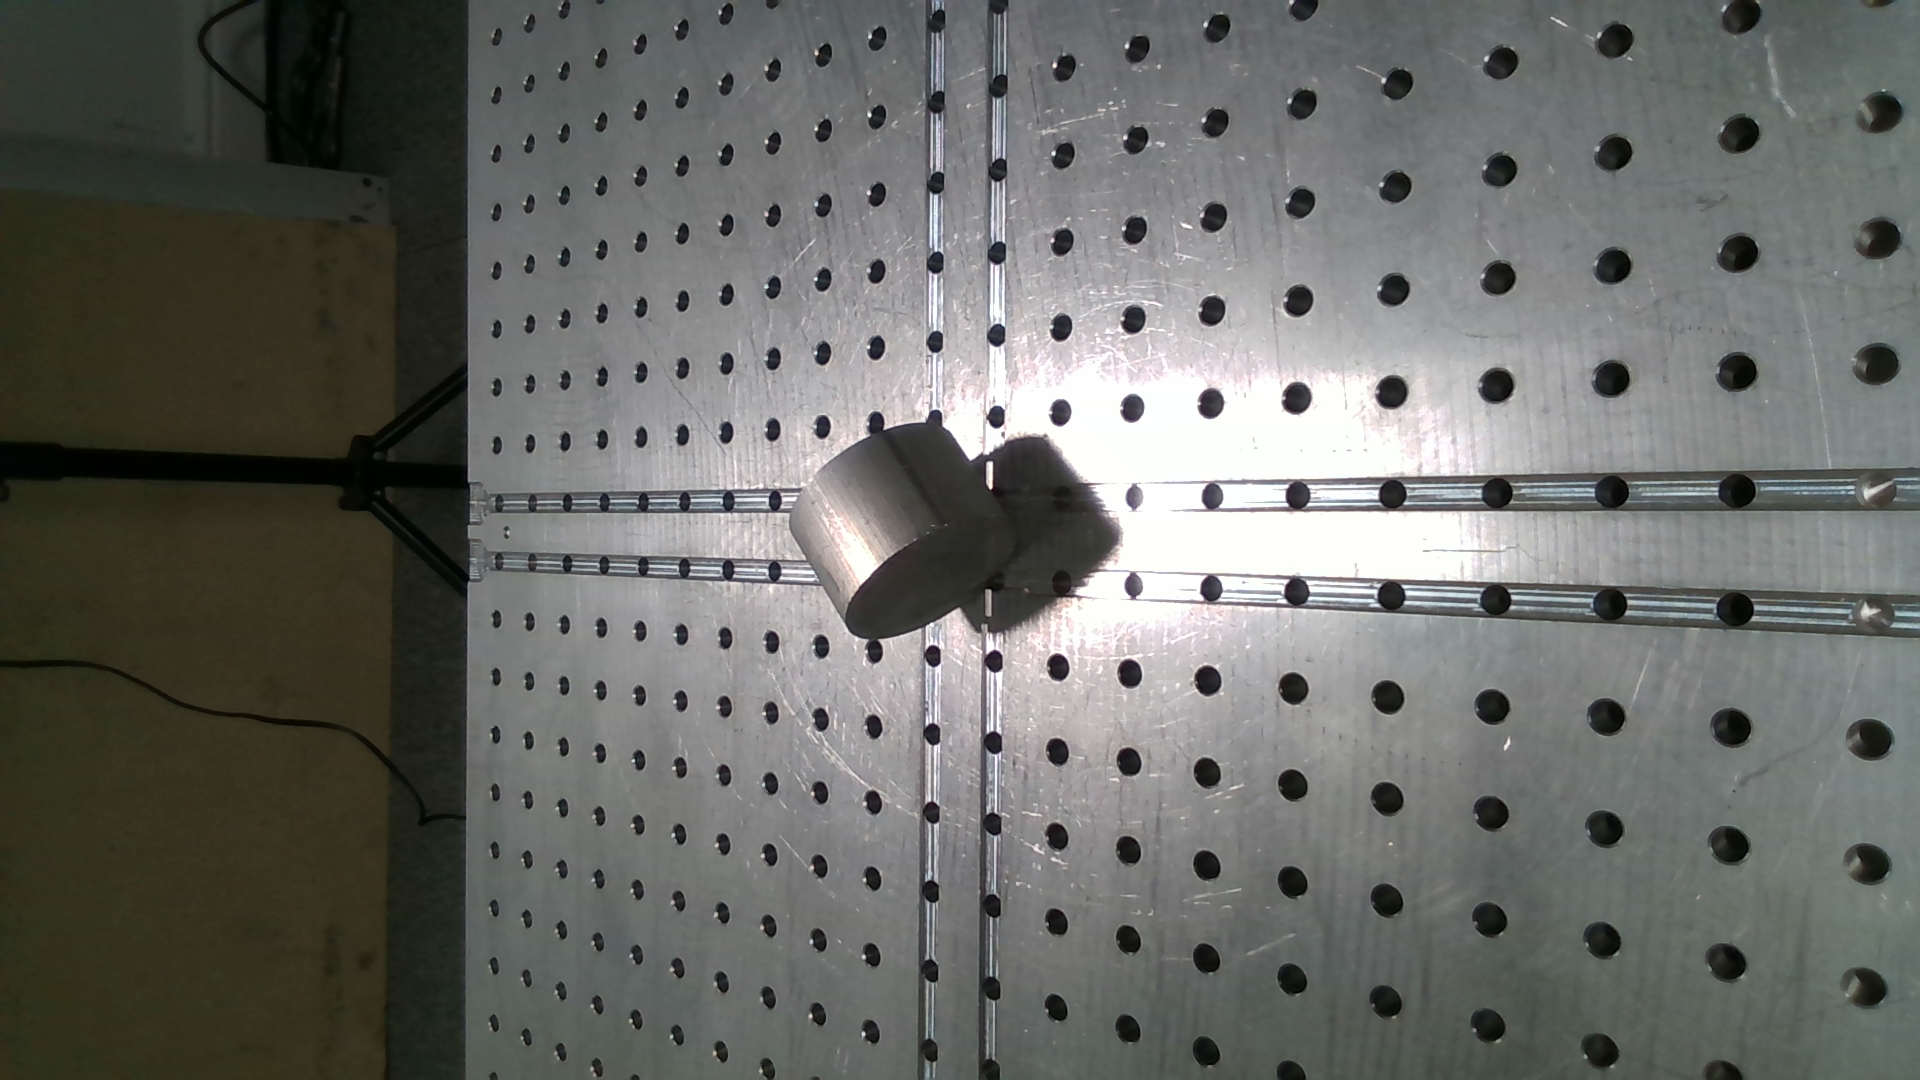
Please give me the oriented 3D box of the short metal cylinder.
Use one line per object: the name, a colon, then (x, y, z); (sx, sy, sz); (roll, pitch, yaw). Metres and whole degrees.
short metal cylinder: (-0.024, -0.003, 0.569); (0.080, 0.080, 0.050); (-48, 61, 30)
